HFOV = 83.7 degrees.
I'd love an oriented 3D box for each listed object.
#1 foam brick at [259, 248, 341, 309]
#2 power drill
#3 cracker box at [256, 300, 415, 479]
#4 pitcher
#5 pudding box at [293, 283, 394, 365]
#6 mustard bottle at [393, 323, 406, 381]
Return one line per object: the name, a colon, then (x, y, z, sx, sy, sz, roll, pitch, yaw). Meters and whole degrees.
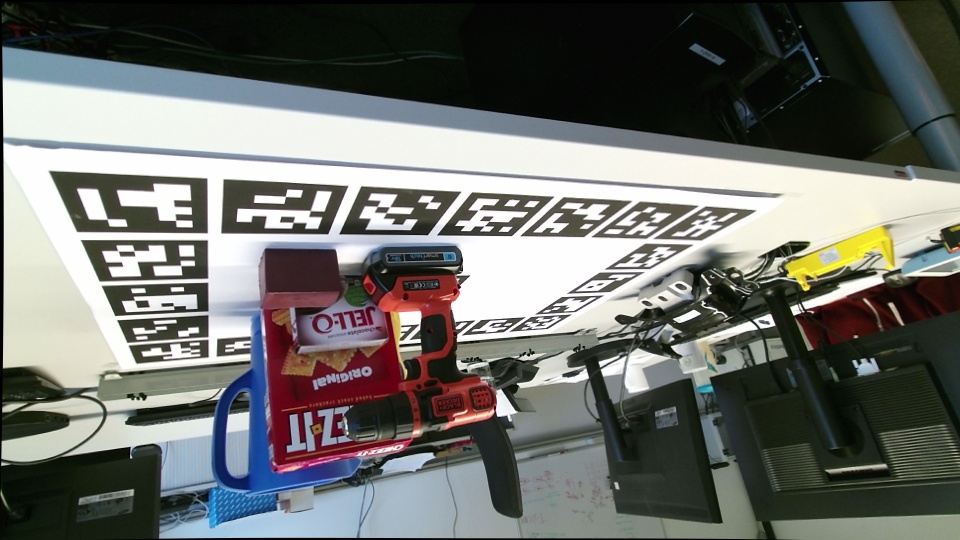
foam brick: (-0.202, 0.009, 0.603, 0.078, 0.051, 0.053, 0, 152, -30)
power drill: (-0.075, 0.099, 0.624, 0.185, 0.186, 0.057, -1, 158, -27)
cracker box: (-0.187, 0.135, 0.685, 0.165, 0.212, 0.072, -5, 158, -28)
pitcher: (-0.270, 0.185, 0.742, 0.189, 0.241, 0.133, 0, 154, -35)
pudding box: (-0.172, 0.066, 0.669, 0.114, 0.089, 0.039, -4, 157, -30)
mustard bottle: (-0.155, 0.173, 0.809, 0.096, 0.190, 0.058, 6, 149, -40)
